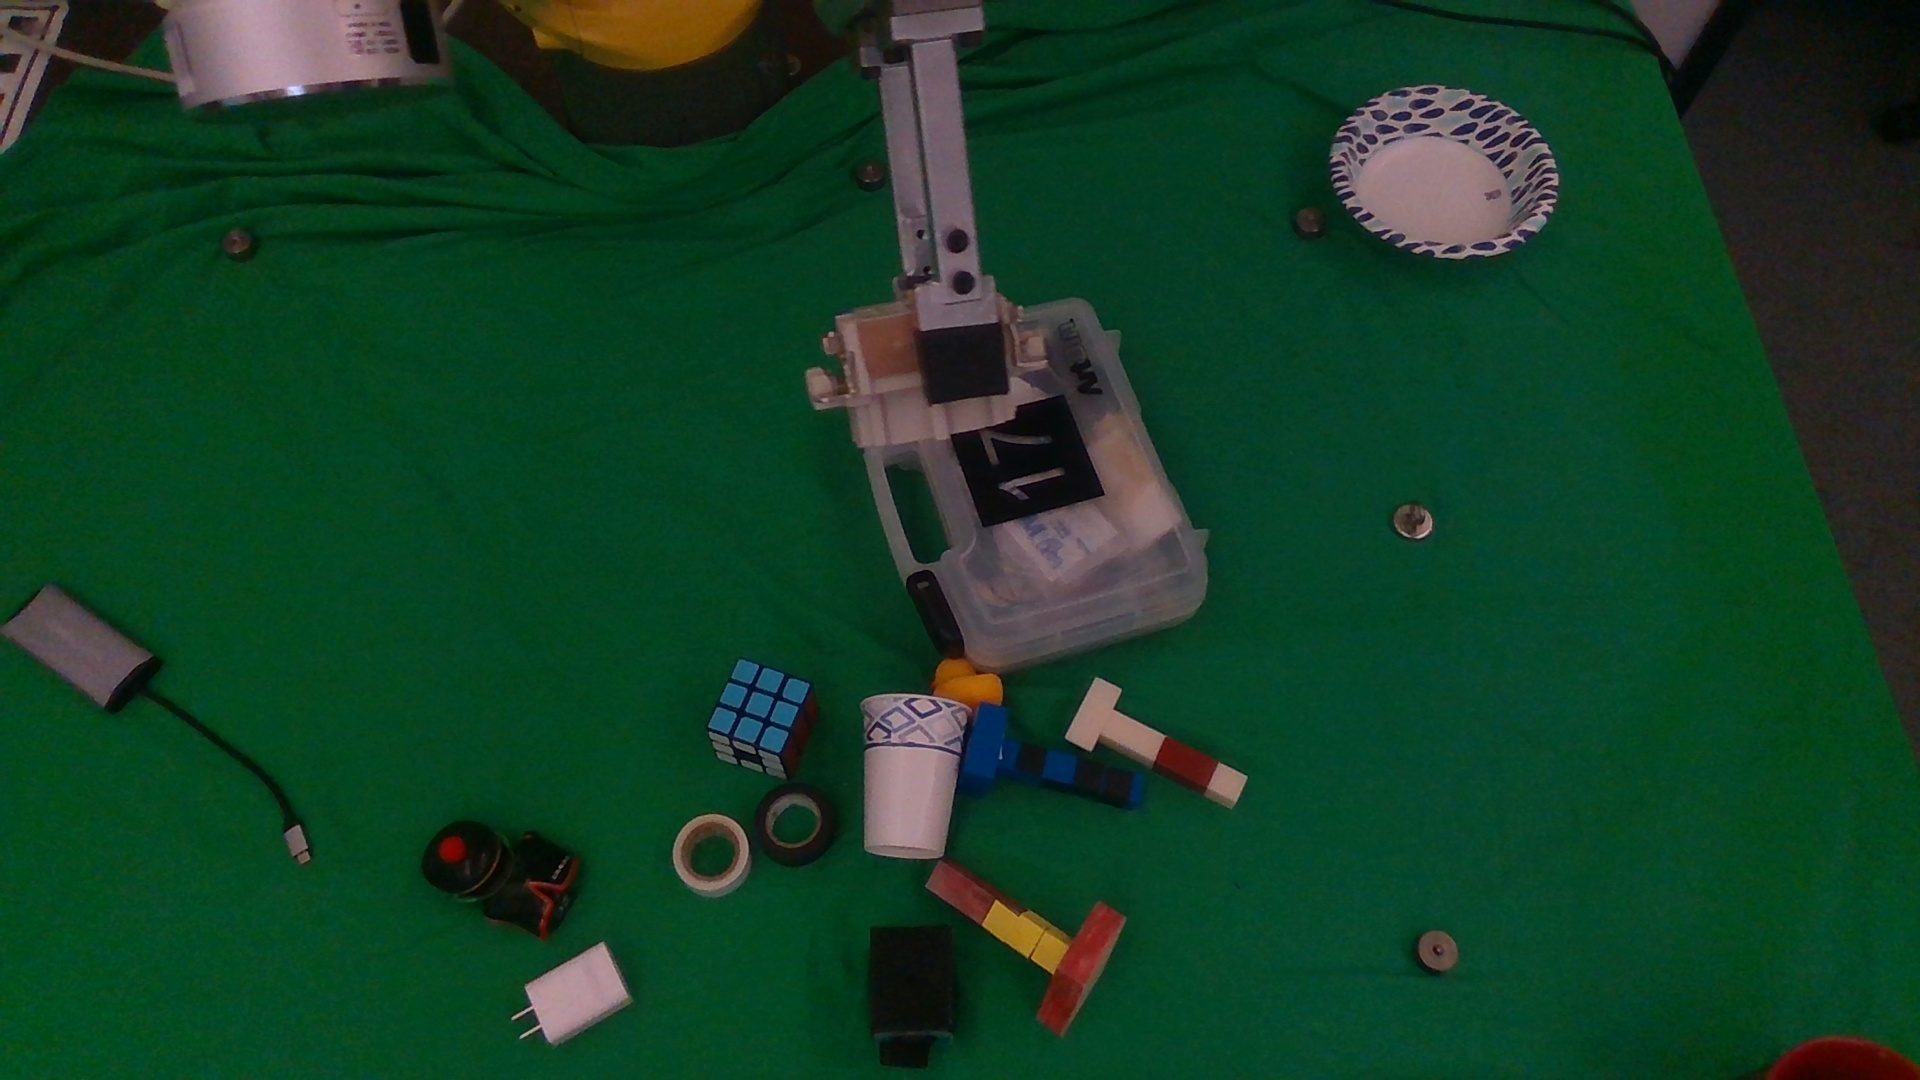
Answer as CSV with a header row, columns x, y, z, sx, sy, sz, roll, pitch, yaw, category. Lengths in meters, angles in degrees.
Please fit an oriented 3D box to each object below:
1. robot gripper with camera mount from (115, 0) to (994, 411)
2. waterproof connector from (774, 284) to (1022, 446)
x,y,z,sx,sy,sz,roll,pitch,yaw,category
-0.089,-0.098,0.330,0.193,0.119,0.158,-11,100,-13,robot gripper with camera mount
-0.017,-0.046,0.368,0.065,0.035,0.037,-10,101,-3,waterproof connector
